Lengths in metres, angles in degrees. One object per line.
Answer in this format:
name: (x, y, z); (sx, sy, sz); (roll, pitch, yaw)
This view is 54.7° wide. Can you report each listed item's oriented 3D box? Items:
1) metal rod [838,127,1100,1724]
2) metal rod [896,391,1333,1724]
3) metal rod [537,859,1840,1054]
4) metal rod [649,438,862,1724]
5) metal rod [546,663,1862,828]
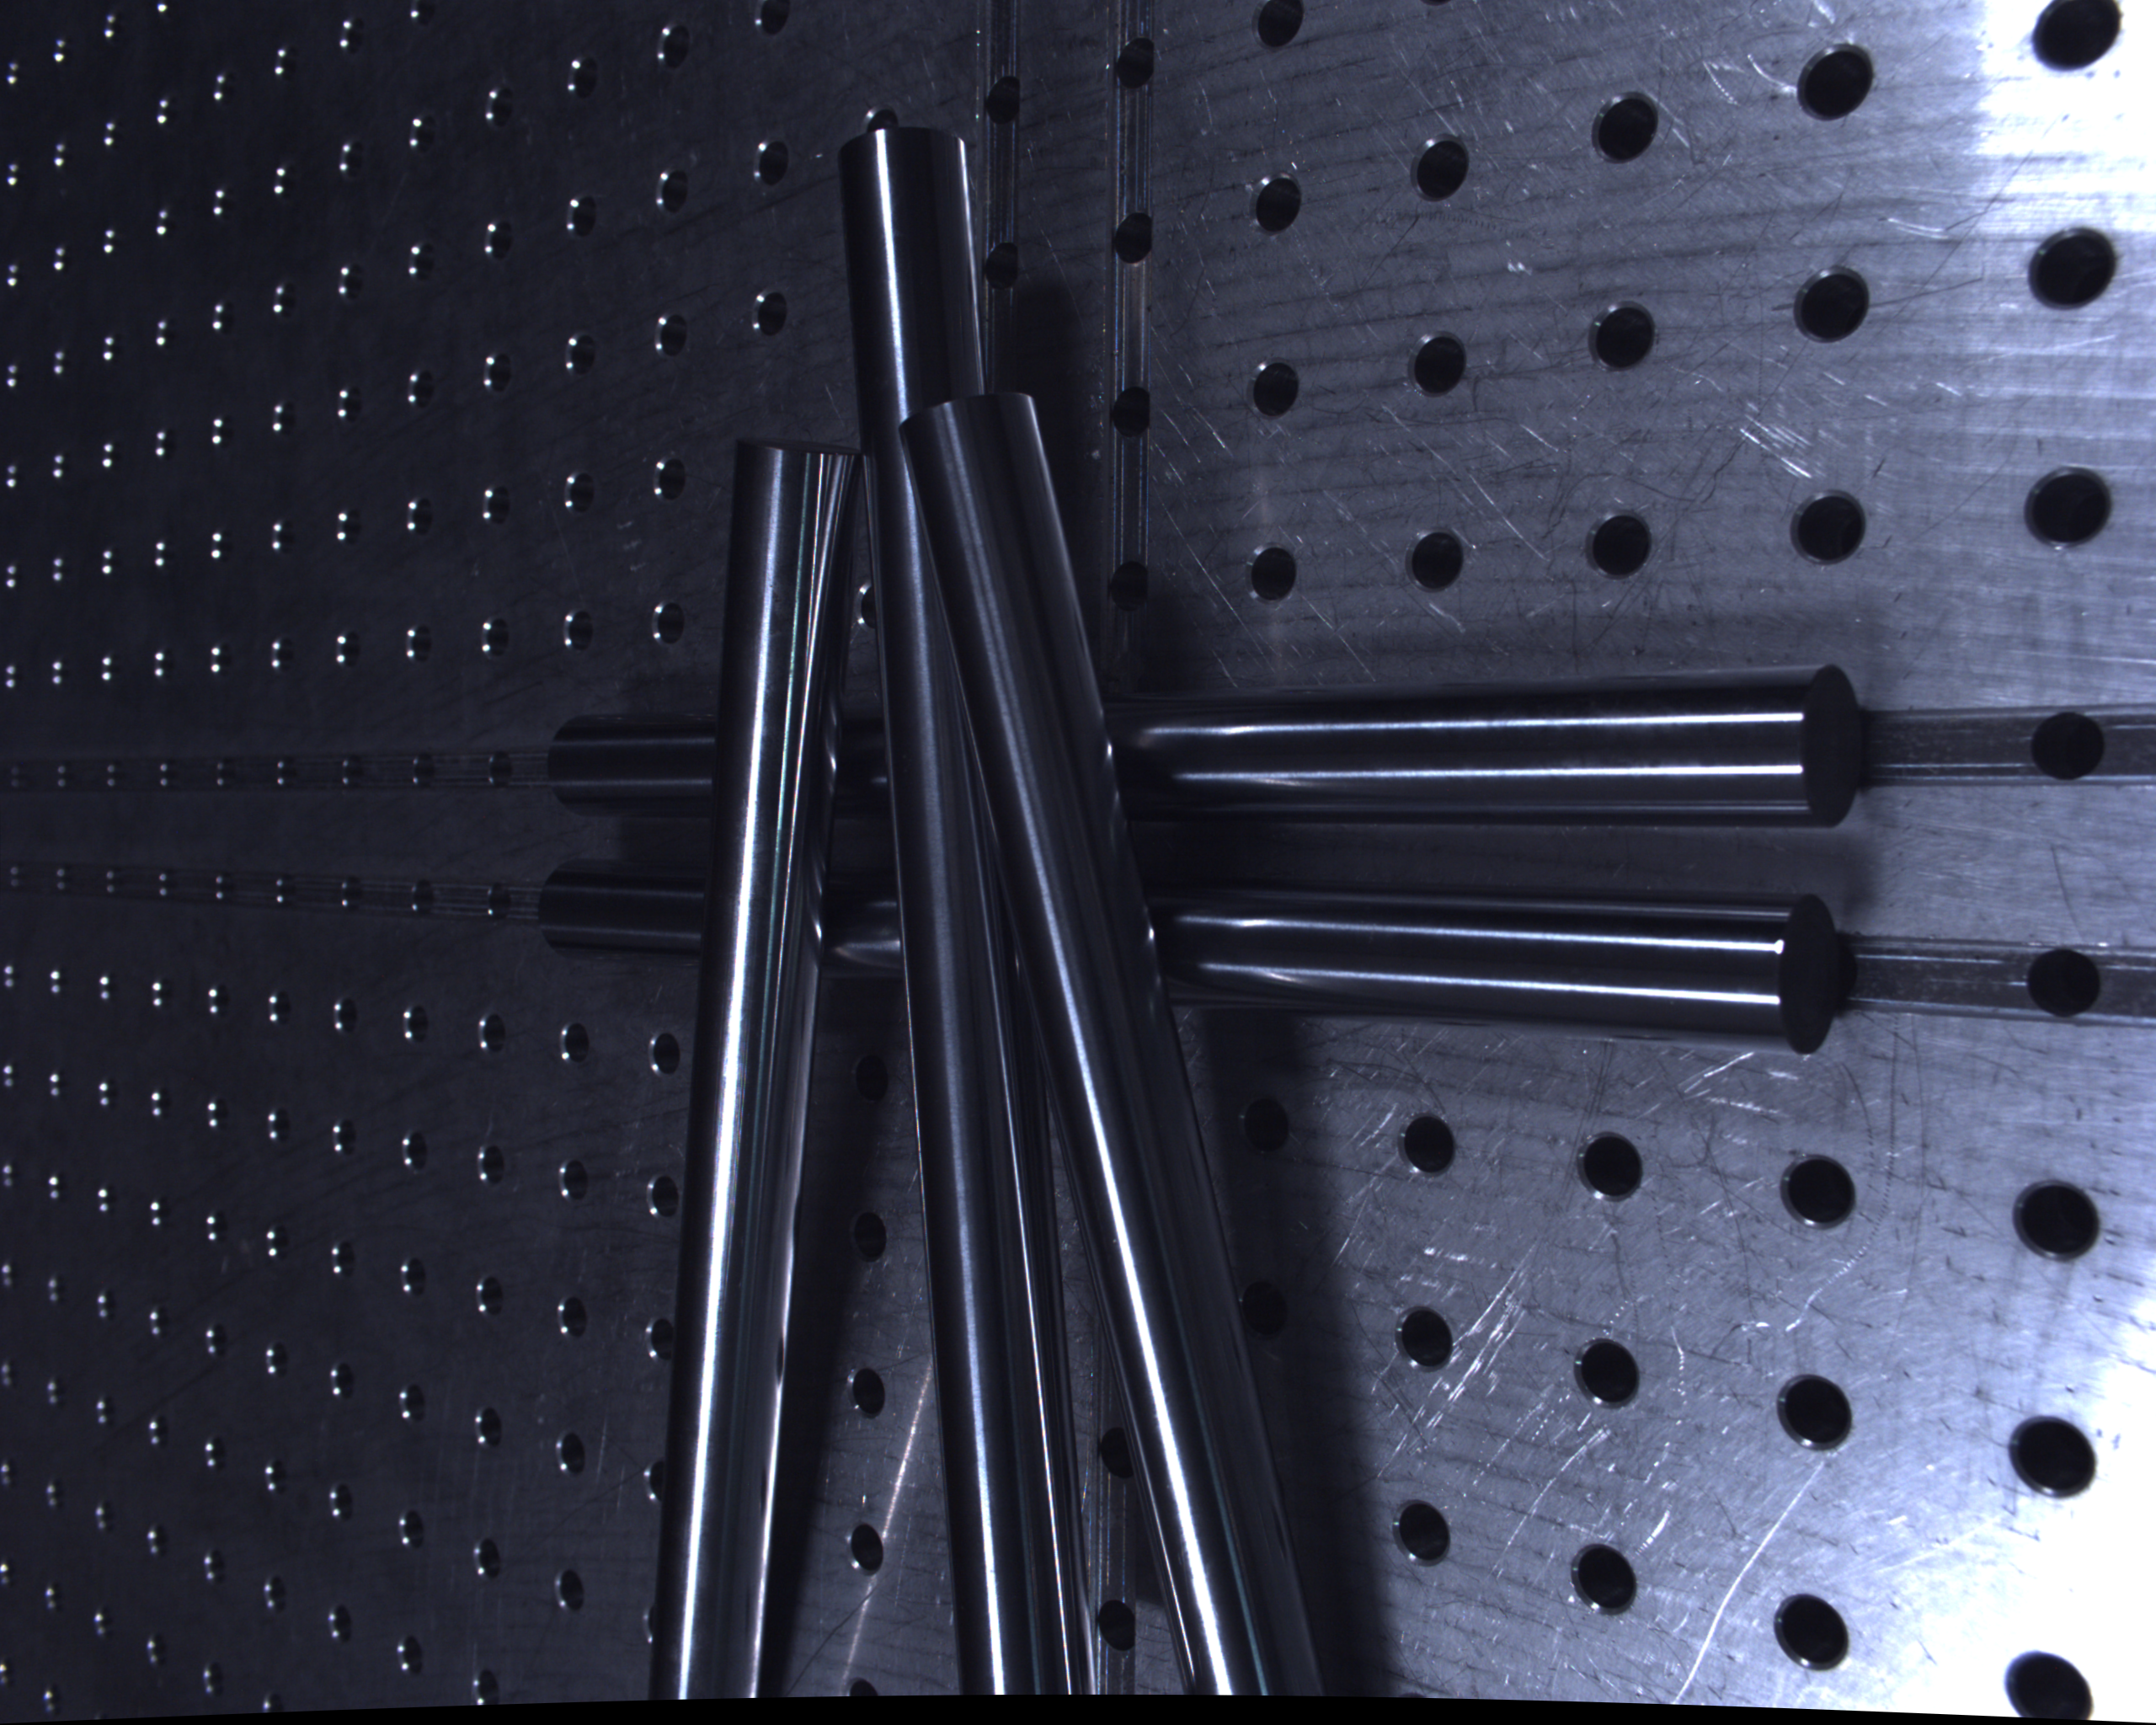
metal rod: (-0.021, 0.011, 0.393); (0.025, 0.025, 0.298); (-8, 85, 39)
metal rod: (0.012, 0.065, 0.373); (0.025, 0.025, 0.298); (-14, 89, 39)
metal rod: (-0.005, 0.014, 0.412); (0.300, 0.025, 0.025); (1, 91, 39)
metal rod: (-0.070, 0.062, 0.441); (0.025, 0.025, 0.298); (18, 108, 38)
metal rod: (-0.002, -0.020, 0.410); (0.300, 0.025, 0.025); (1, 91, 39)
